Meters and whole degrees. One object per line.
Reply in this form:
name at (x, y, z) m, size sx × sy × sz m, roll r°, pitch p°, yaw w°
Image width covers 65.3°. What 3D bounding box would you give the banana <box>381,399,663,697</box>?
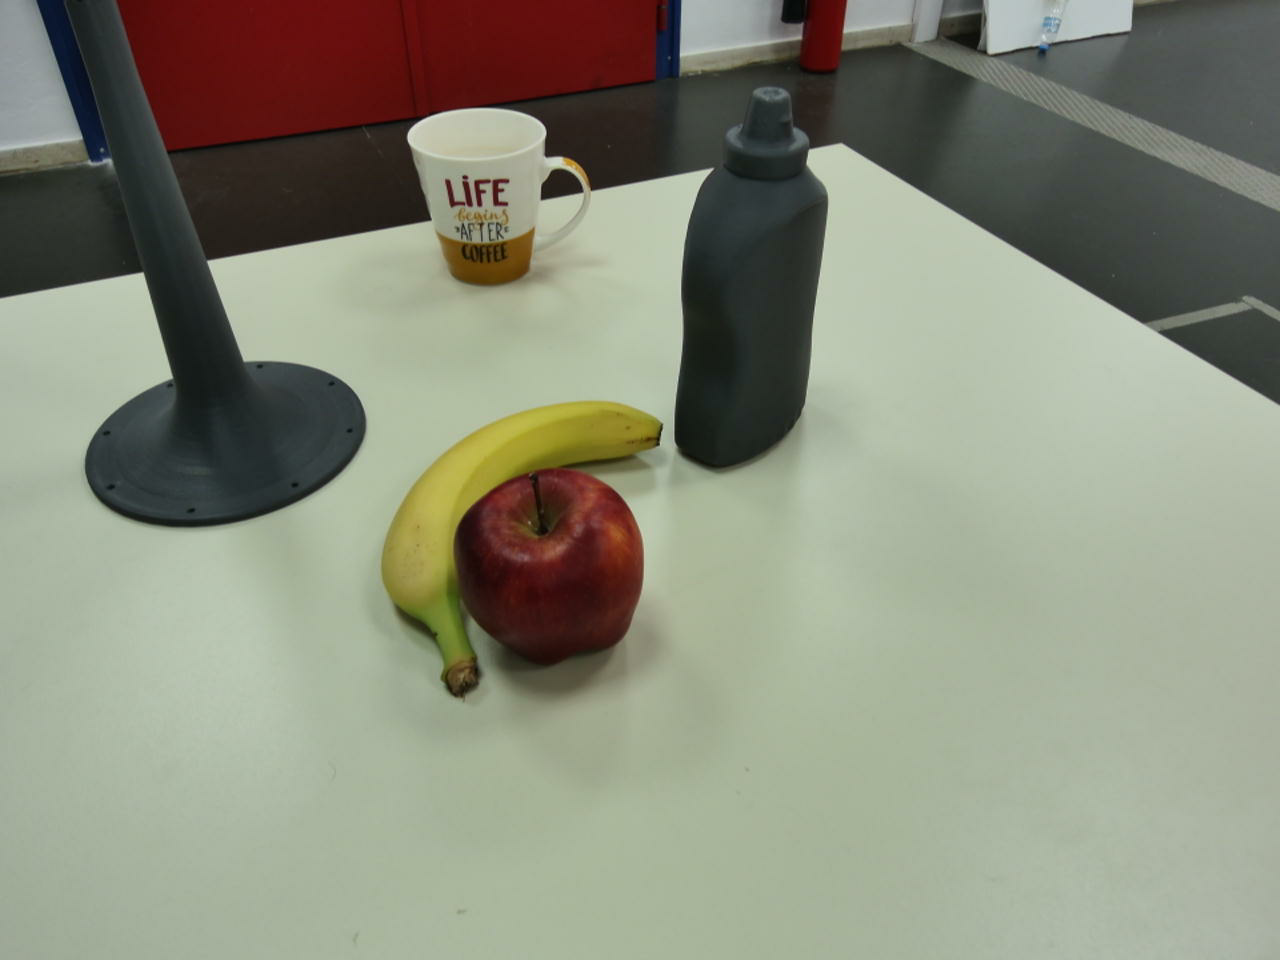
banana at (-0.070, 0.012, 0.503) m, size 0.094 × 0.041 × 0.196 m, roll 19°, pitch 42°, yaw 22°
